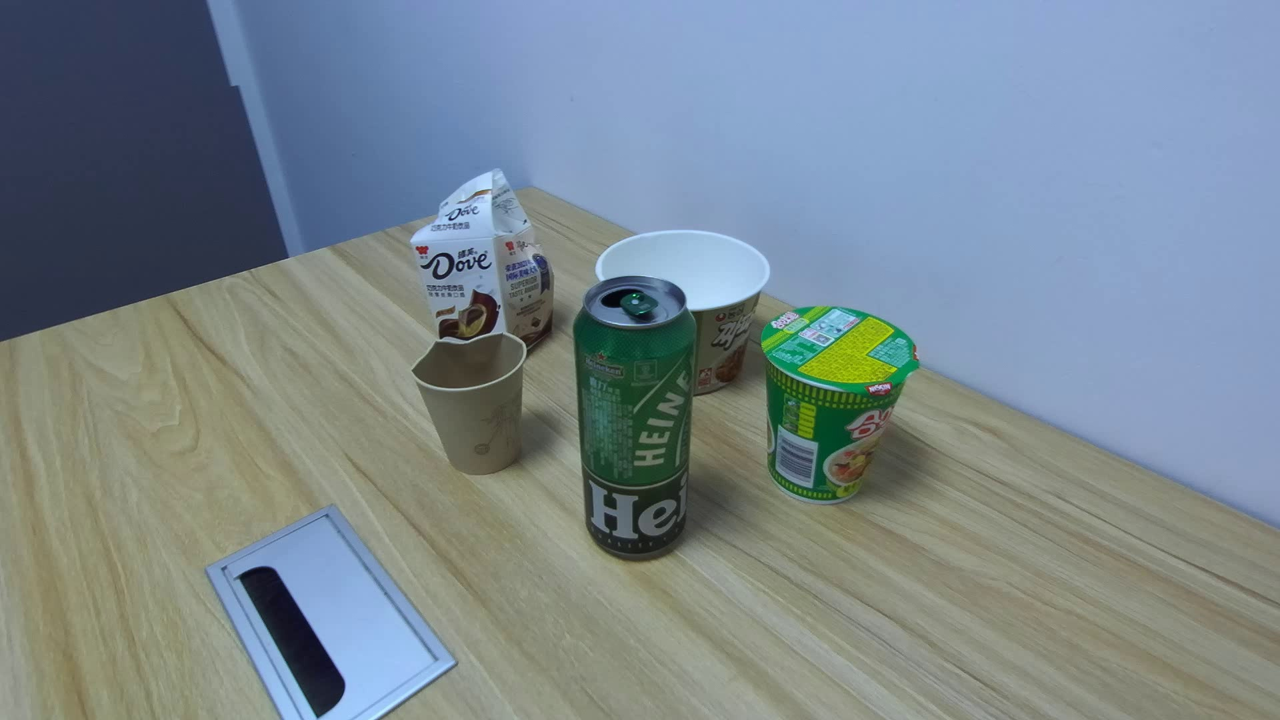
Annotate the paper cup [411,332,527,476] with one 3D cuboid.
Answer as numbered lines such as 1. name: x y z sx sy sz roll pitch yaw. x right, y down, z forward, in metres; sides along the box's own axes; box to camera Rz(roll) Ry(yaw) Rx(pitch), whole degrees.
1. paper cup: -0.113 0.033 0.501 0.068 0.081 0.073 10 34 14

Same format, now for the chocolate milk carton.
1. chocolate milk carton: -0.134 -0.078 0.610 0.089 0.156 0.077 -3 25 24

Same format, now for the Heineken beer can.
1. Heineken beer can: -0.002 0.039 0.418 0.067 0.169 0.067 0 34 0

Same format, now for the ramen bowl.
1. ramen bowl: 0.035 -0.039 0.594 0.140 0.095 0.140 1 35 0

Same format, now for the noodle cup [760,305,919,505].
1. noodle cup: 0.124 0.035 0.474 0.097 0.110 0.097 1 34 0
